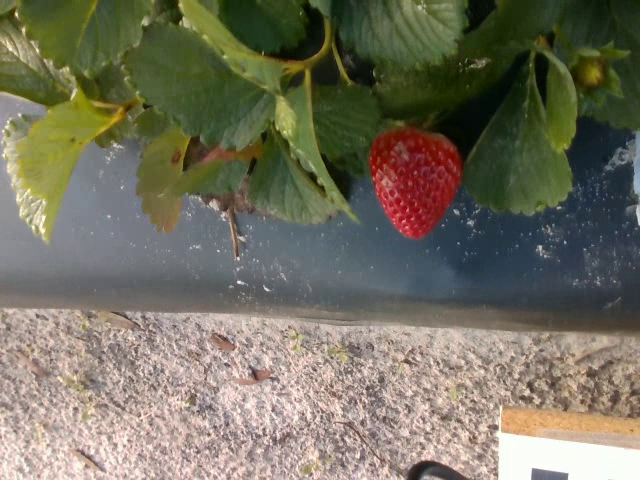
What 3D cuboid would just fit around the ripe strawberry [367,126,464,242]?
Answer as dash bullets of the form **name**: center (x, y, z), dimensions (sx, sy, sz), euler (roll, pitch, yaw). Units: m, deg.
- **ripe strawberry**: center (0.018, -0.011, 0.113), dimensions (0.018, 0.023, 0.020), euler (10, 20, 37)
